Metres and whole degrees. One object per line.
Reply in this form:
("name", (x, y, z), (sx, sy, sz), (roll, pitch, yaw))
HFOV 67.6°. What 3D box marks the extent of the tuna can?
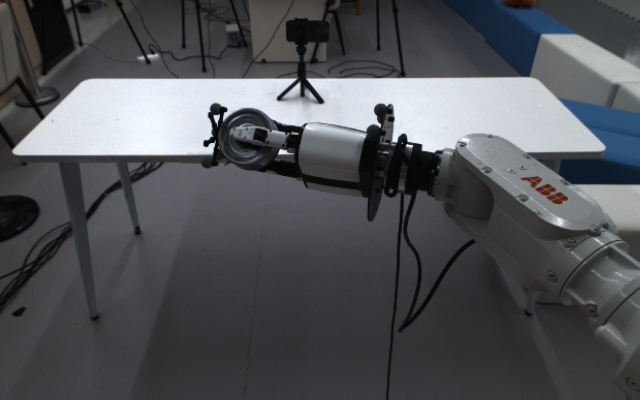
("tuna can", (-0.100, -0.088, 0.693), (0.085, 0.085, 0.034), (10, -6, 11))
